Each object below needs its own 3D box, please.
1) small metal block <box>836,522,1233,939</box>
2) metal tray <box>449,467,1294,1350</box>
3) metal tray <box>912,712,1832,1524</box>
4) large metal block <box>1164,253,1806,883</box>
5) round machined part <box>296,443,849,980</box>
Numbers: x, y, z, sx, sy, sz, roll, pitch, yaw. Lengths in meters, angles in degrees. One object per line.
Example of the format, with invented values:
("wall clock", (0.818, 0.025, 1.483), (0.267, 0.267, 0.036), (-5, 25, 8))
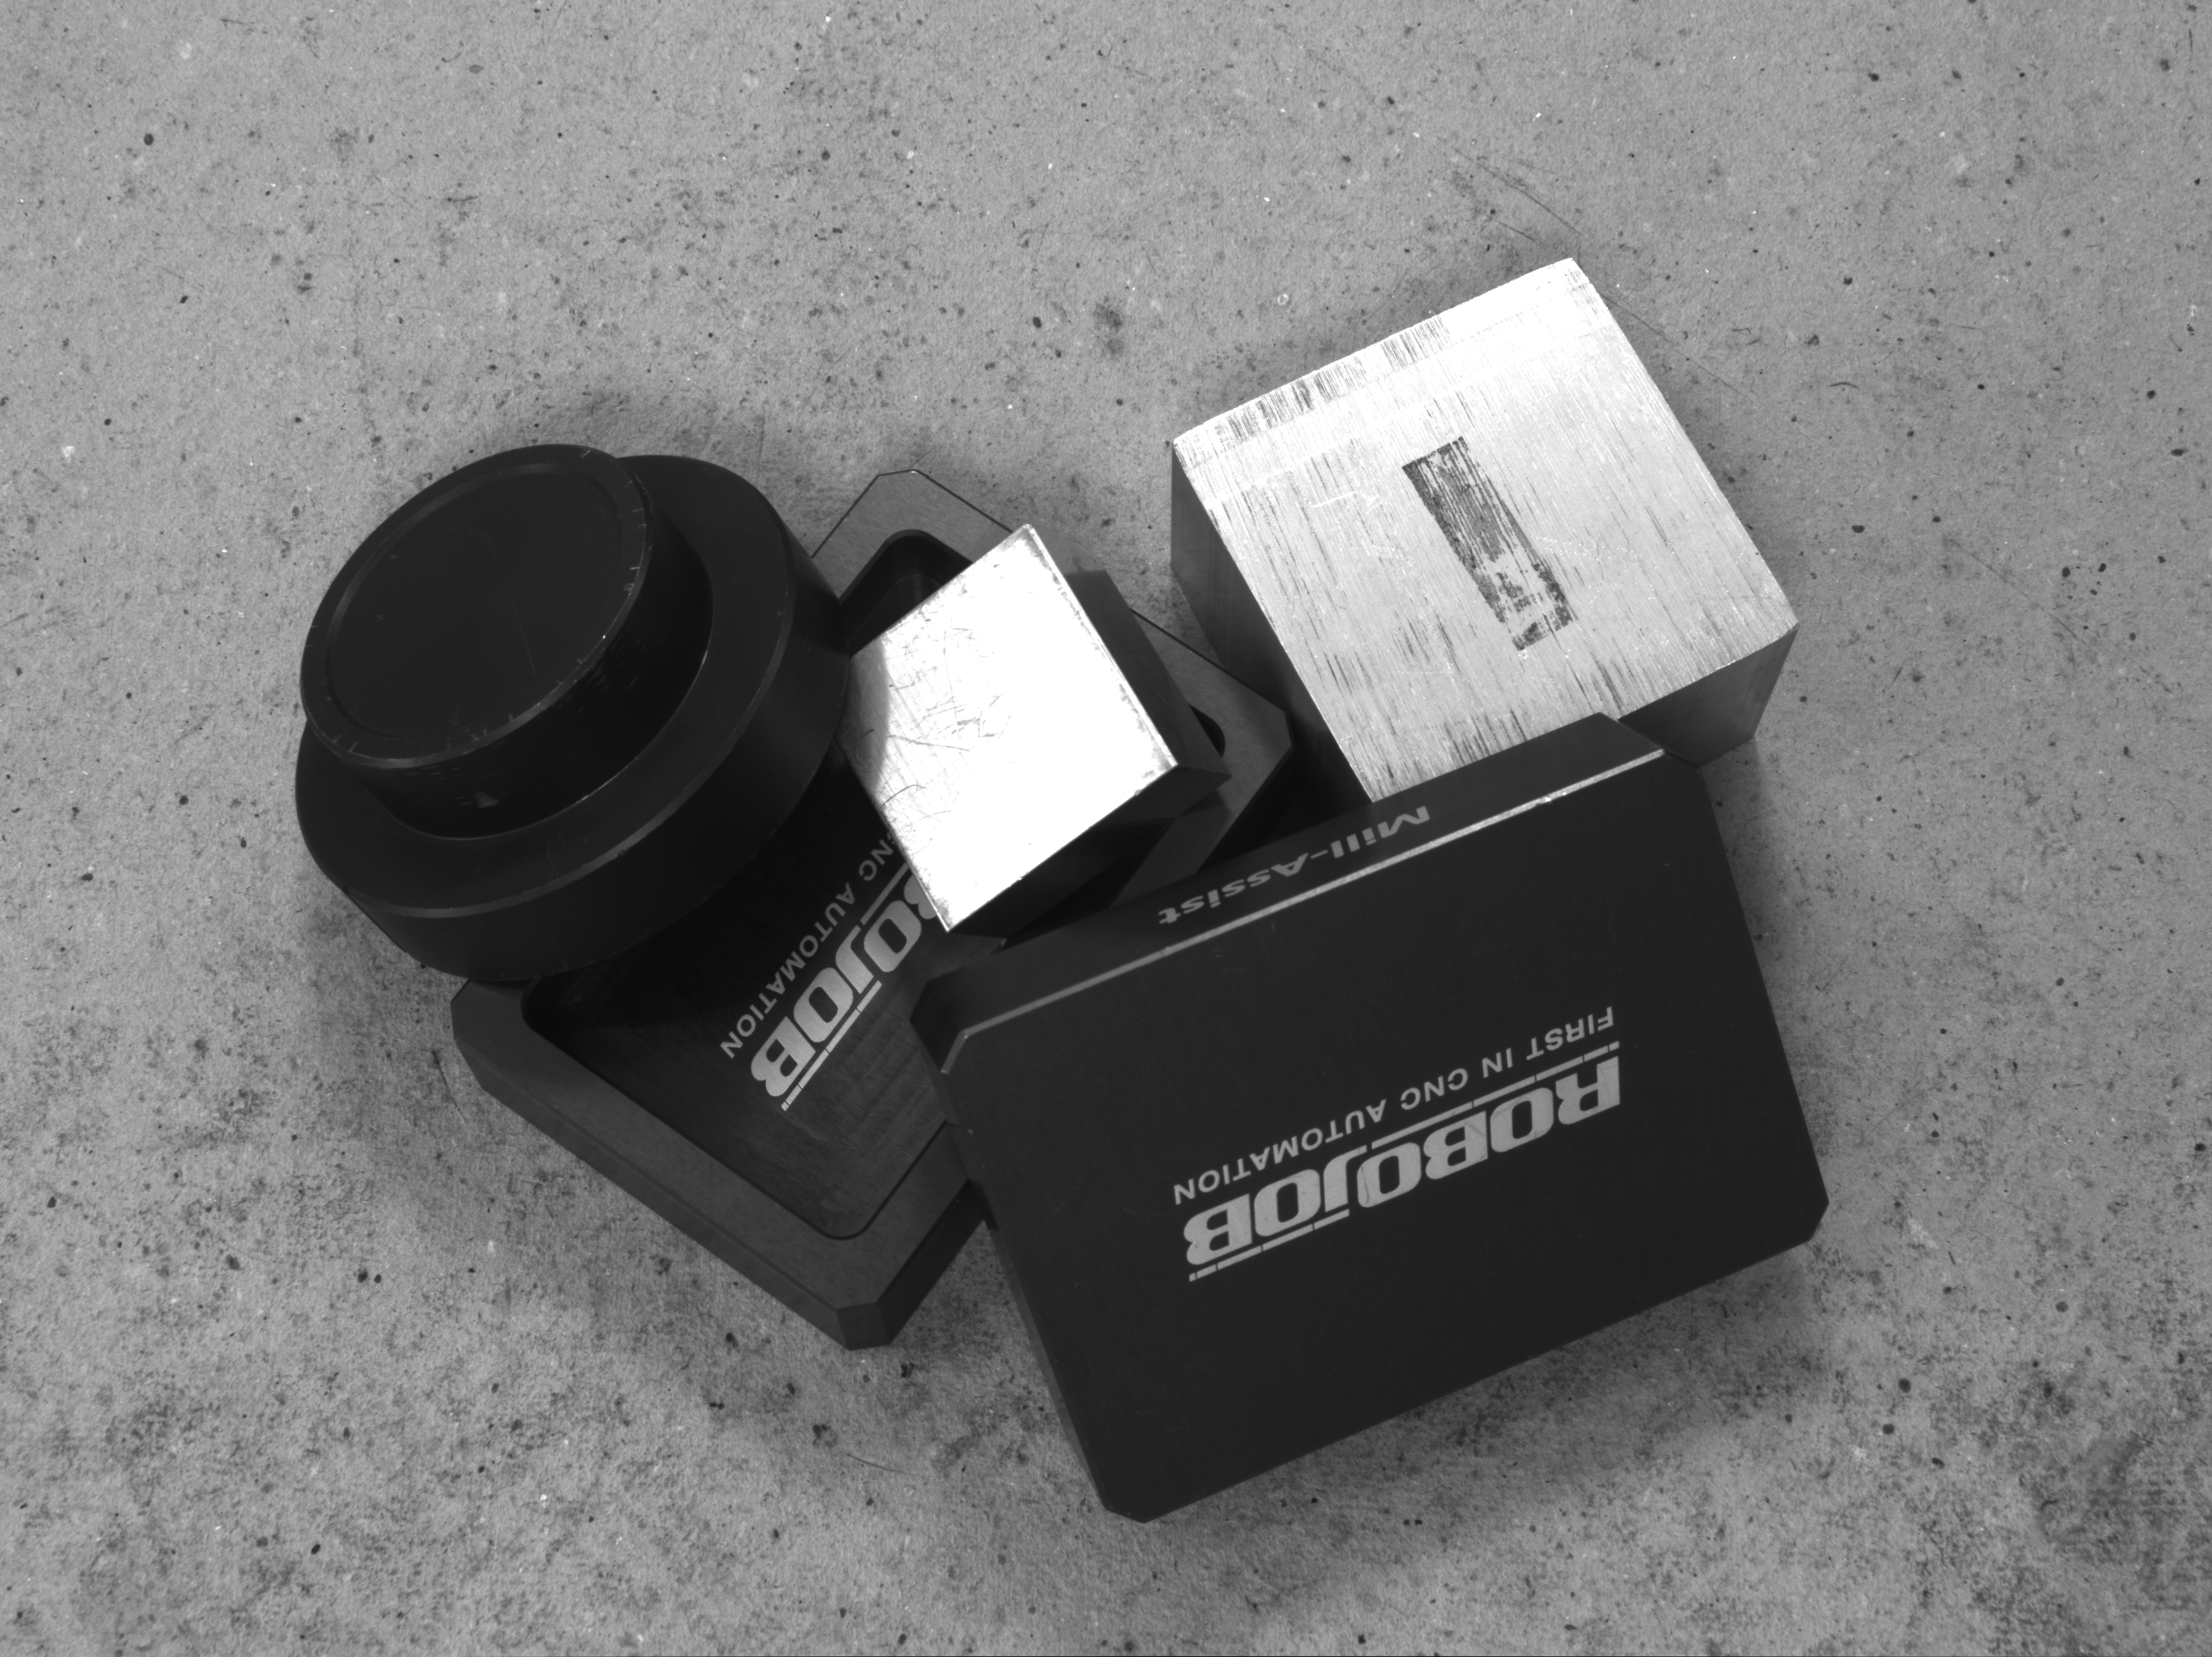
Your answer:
("small metal block", (-0.015, -0.016, 0.627), (0.050, 0.025, 0.050), (-36, 74, 17))
("metal tray", (-0.039, 0.012, 0.638), (0.090, 0.030, 0.130), (33, 73, 11))
("metal tray", (0.044, 0.047, 0.601), (0.130, 0.030, 0.090), (-22, 107, -7))
("large metal block", (0.064, -0.042, 0.648), (0.080, 0.050, 0.080), (-25, 72, -9))
("round machined part", (-0.097, -0.026, 0.624), (0.098, 0.042, 0.098), (-16, 48, 19))
